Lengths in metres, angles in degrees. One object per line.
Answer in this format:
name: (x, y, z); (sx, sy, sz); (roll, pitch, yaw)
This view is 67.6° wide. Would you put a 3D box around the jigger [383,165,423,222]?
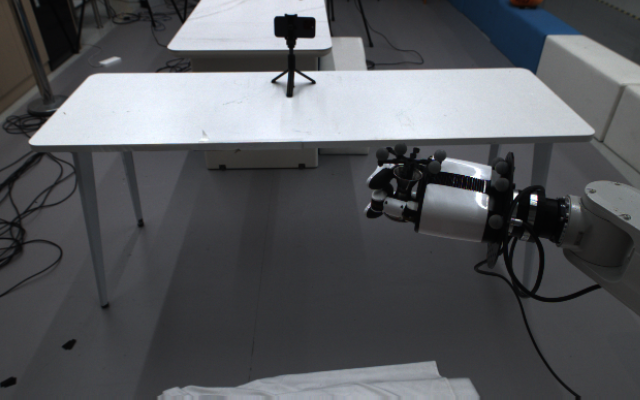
jigger: (0.120, -0.010, 0.682); (0.043, 0.071, 0.043); (4, 31, -2)
